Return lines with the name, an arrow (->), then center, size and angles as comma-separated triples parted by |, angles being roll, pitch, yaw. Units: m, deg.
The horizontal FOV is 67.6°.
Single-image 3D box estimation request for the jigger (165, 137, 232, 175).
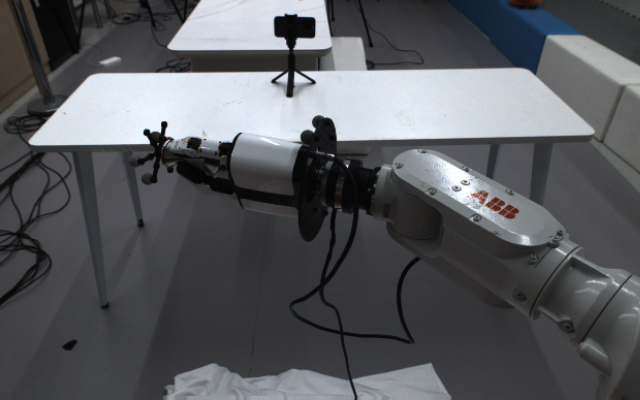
jigger -> -0.172, -0.063, 0.664 | 0.071, 0.043, 0.043 | 9, 35, 16
